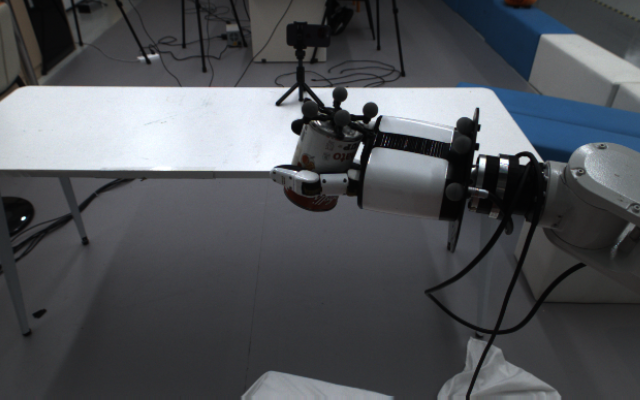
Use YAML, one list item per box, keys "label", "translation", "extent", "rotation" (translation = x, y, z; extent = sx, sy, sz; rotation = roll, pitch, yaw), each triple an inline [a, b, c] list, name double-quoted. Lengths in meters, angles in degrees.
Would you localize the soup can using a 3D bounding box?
- label: "soup can"
  translation: [0.005, -0.046, 0.554]
  extent: [0.067, 0.101, 0.067]
  rotation: [14, 35, -10]
